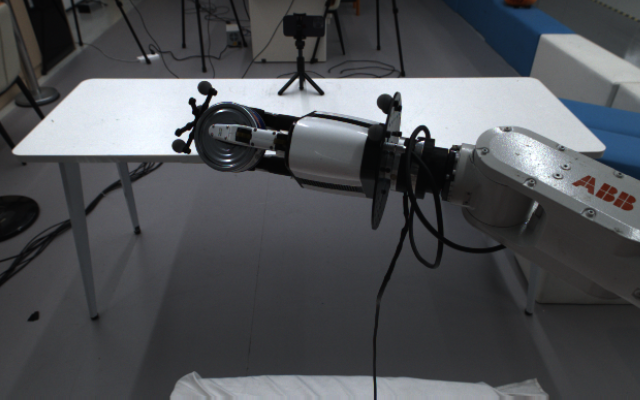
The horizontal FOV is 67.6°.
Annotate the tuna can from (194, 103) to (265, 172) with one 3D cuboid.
[{"bbox_3d":[-0.106,-0.073,0.593,0.085,0.085,0.034,9,5,10],"label":"tuna can"}]
